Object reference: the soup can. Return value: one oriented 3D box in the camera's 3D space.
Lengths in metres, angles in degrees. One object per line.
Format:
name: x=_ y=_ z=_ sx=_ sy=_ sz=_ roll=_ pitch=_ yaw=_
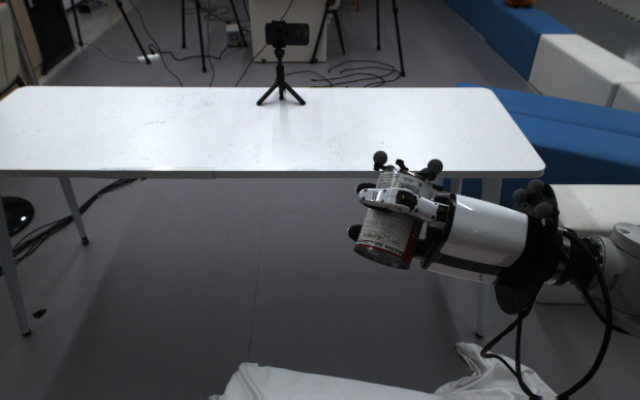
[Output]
soup can: x=0.089 y=0.022 z=0.570 sx=0.067 sy=0.067 sz=0.101 roll=15 pitch=75 yaw=18
